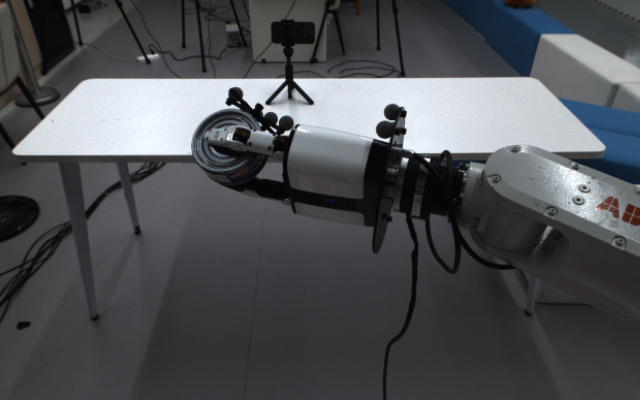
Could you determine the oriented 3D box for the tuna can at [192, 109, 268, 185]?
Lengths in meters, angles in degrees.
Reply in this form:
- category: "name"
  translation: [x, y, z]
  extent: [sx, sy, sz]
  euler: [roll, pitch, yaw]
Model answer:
- category: "tuna can"
  translation: [-0.103, -0.063, 0.564]
  extent: [0.085, 0.034, 0.085]
  euler: [-4, 69, 10]
